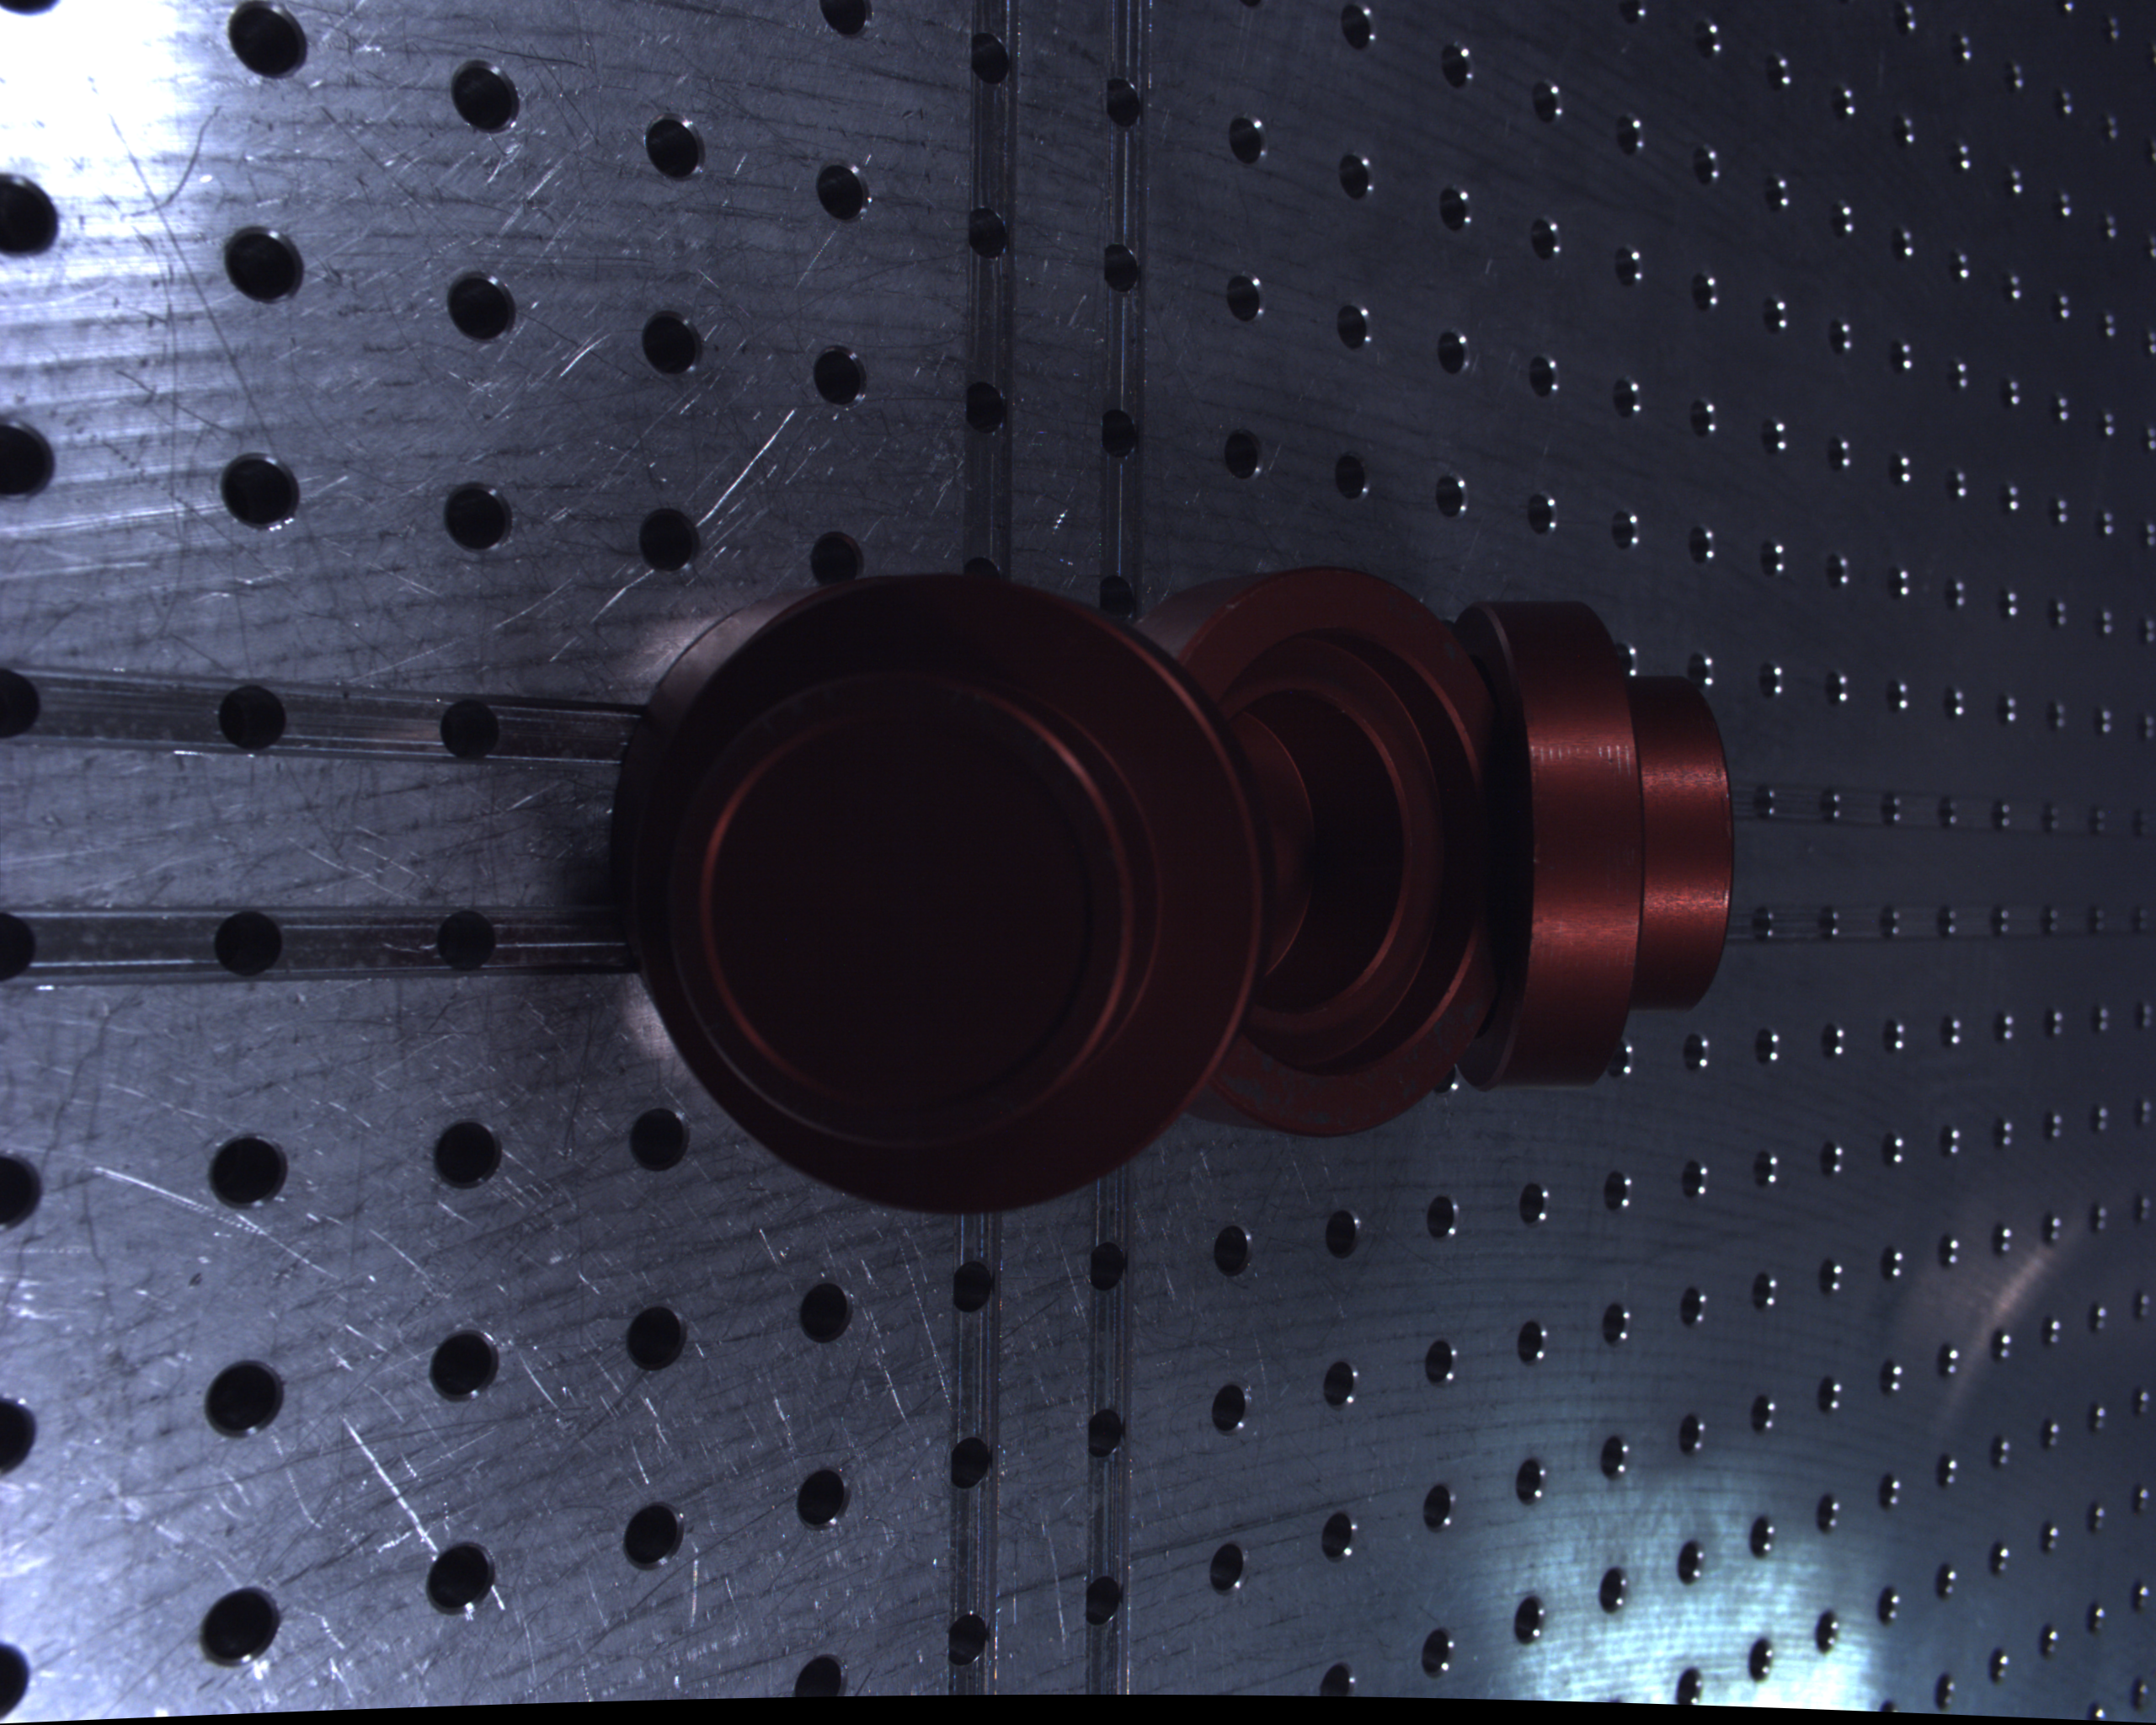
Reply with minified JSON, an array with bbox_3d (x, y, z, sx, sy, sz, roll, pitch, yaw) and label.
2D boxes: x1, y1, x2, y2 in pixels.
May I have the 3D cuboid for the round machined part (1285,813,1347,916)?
[{"bbox_3d":[0.047,-0.003,0.439,0.099,0.042,0.097,0,90,-40],"label":"round machined part"}]

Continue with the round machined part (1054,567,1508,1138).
[{"bbox_3d":[0.033,-0.002,0.372,0.099,0.042,0.097,0,90,-40],"label":"round machined part"}]

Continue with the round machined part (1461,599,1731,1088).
[{"bbox_3d":[0.100,-0.004,0.417,0.042,0.098,0.097,0,90,0],"label":"round machined part"}]

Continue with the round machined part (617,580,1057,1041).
[{"bbox_3d":[-0.029,-0.003,0.375,0.099,0.042,0.097,0,90,-40],"label":"round machined part"}]

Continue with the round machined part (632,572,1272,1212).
[{"bbox_3d":[-0.022,0.005,0.315,0.042,0.098,0.097,-21,107,-77],"label":"round machined part"}]
